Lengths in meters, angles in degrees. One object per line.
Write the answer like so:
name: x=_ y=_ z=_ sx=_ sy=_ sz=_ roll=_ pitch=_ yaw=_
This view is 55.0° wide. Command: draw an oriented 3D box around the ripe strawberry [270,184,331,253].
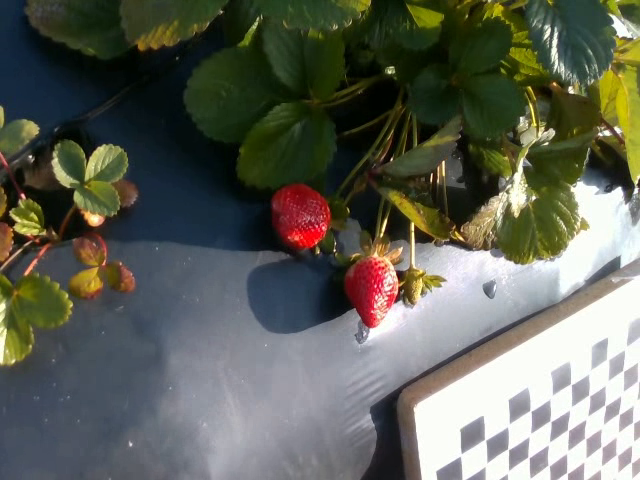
ripe strawberry: x=-0.013 y=-0.015 z=0.396 sx=0.039 sy=0.048 sz=0.054 roll=12 pitch=12 yaw=33

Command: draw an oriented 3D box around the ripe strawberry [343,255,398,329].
ripe strawberry: x=0.037 y=0.035 z=0.399 sx=0.043 sy=0.053 sz=0.038 roll=31 pitch=-45 yaw=-34
